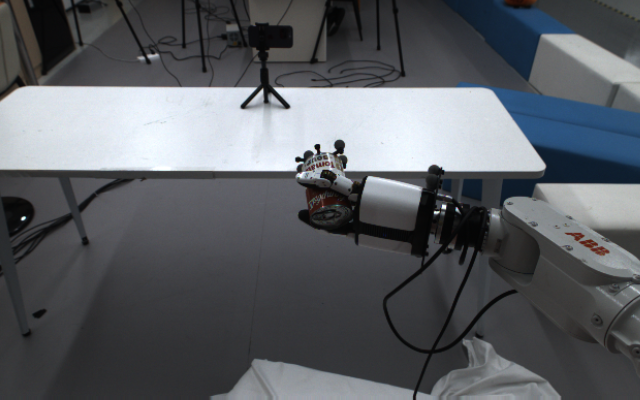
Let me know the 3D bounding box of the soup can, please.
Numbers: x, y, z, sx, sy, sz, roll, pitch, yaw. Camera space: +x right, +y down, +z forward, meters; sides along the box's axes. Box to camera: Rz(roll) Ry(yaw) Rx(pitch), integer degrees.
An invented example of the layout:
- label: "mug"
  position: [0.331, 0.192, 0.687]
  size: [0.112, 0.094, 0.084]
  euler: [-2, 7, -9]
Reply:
- label: "soup can"
  position: [0.012, -0.015, 0.750]
  size: [0.067, 0.067, 0.101]
  euler: [-5, 57, -10]
